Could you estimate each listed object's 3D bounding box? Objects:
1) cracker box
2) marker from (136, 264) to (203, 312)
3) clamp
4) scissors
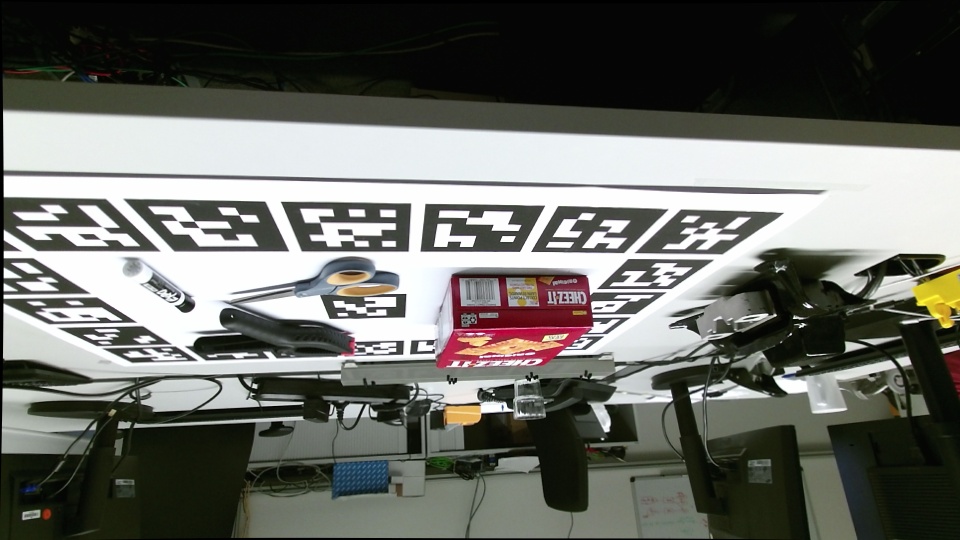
[{"bbox_3d":[0.037,0.077,0.696,0.165,0.071,0.214,0,157,-10],"label":"cracker box"},{"bbox_3d":[-0.325,0.025,0.568,0.020,0.019,0.121,-2,158,-6],"label":"marker"},{"bbox_3d":[-0.261,0.094,0.760,0.204,0.036,0.165,14,153,-36],"label":"clamp"},{"bbox_3d":[-0.184,0.025,0.595,0.203,0.016,0.088,-10,158,19],"label":"scissors"}]
